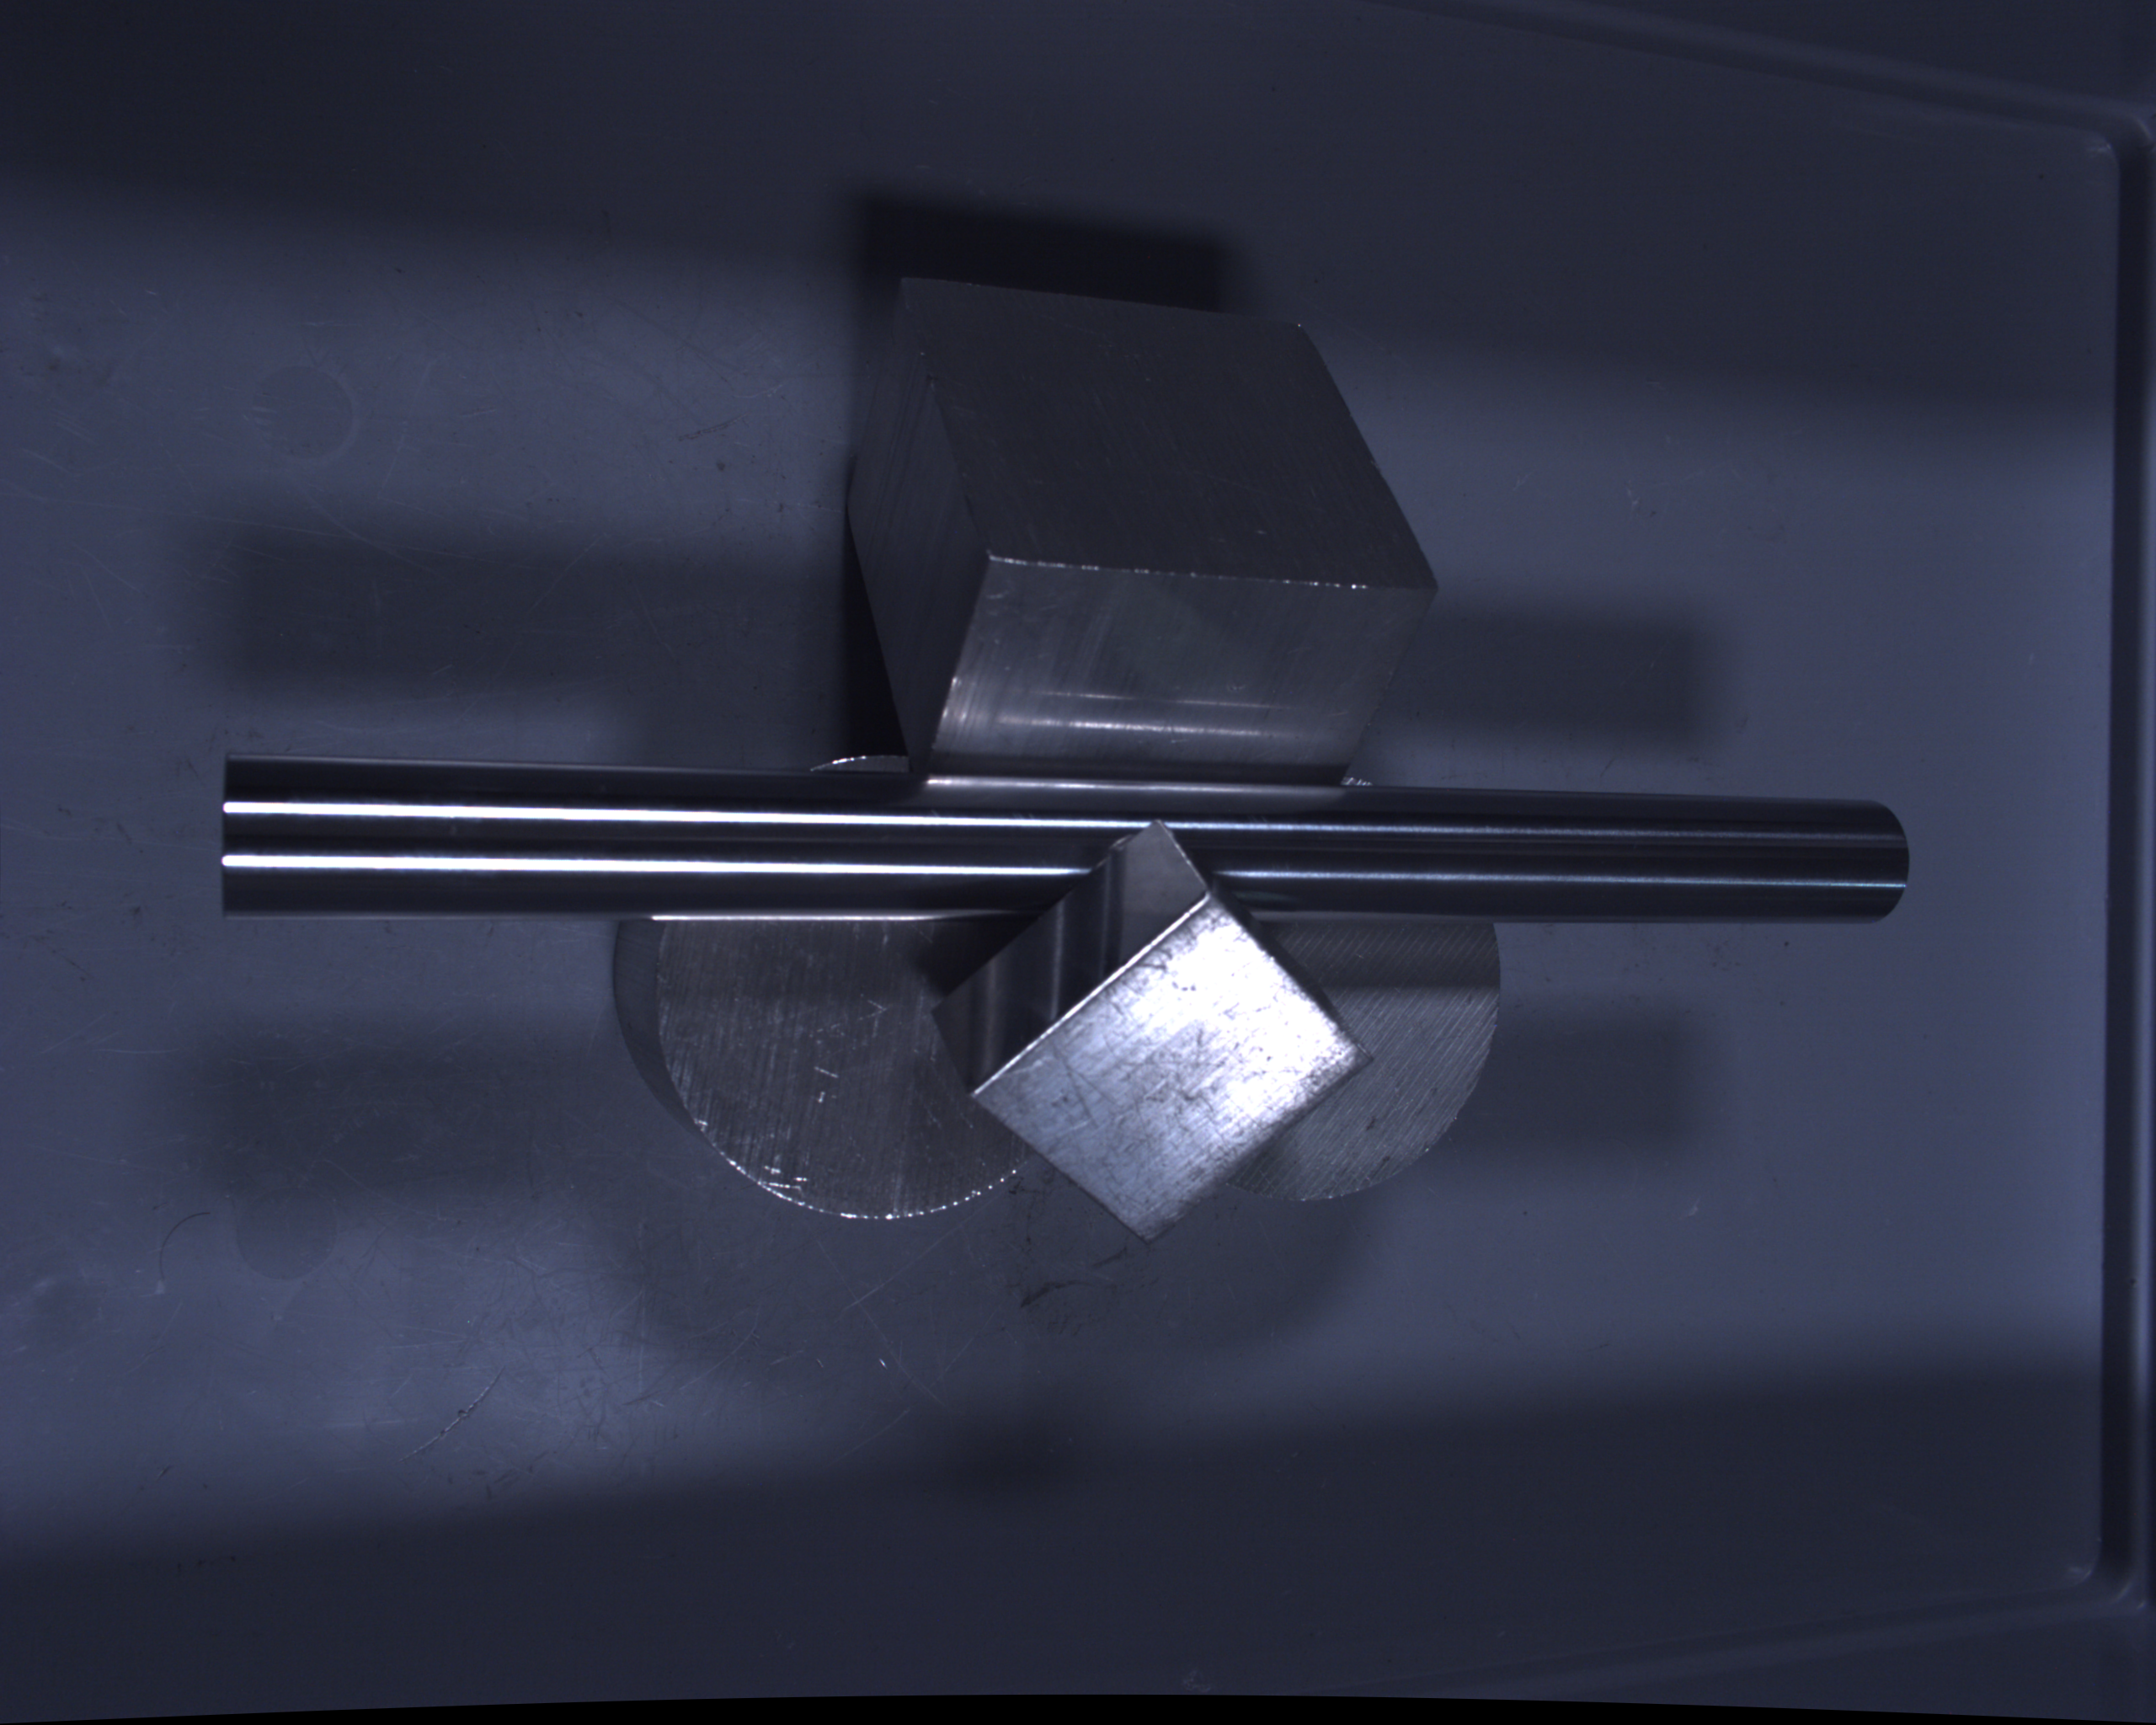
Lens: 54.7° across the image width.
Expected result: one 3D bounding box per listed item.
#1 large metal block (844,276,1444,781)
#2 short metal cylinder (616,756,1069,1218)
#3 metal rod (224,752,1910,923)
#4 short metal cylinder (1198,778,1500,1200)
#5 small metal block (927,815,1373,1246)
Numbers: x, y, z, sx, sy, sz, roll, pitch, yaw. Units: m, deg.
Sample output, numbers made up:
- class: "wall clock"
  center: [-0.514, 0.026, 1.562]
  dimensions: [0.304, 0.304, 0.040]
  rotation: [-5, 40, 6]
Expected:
- class: "large metal block"
  center: [0.008, -0.058, 0.378]
  dimensions: [0.081, 0.050, 0.080]
  rotation: [1, 47, -20]
- class: "short metal cylinder"
  center: [-0.041, 0.021, 0.382]
  dimensions: [0.081, 0.050, 0.079]
  rotation: [0, 90, -21]
- class: "metal rod"
  center: [0.015, -0.002, 0.363]
  dimensions: [0.303, 0.025, 0.025]
  rotation: [1, 90, -21]
- class: "short metal cylinder"
  center: [0.035, 0.023, 0.410]
  dimensions: [0.081, 0.050, 0.079]
  rotation: [0, 90, -21]
- class: "small metal block"
  center: [0.012, 0.029, 0.350]
  dimensions: [0.050, 0.025, 0.050]
  rotation: [-41, 124, 6]
